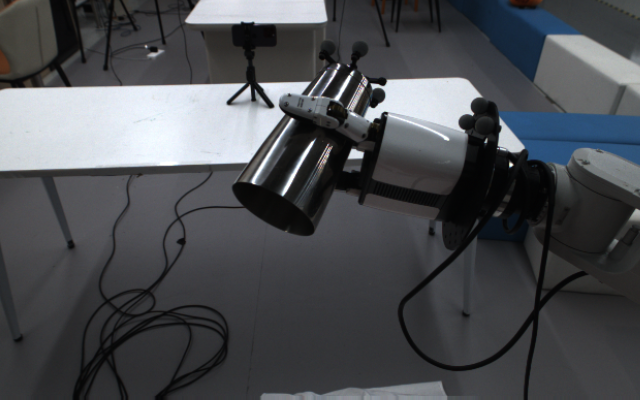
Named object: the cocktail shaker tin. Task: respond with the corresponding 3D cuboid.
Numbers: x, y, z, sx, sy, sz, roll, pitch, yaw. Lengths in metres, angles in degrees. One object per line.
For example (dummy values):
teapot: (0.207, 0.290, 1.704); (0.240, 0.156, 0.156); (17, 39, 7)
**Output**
cocktail shaker tin: (-0.005, -0.061, 0.502); (0.093, 0.093, 0.170); (18, 66, 21)
